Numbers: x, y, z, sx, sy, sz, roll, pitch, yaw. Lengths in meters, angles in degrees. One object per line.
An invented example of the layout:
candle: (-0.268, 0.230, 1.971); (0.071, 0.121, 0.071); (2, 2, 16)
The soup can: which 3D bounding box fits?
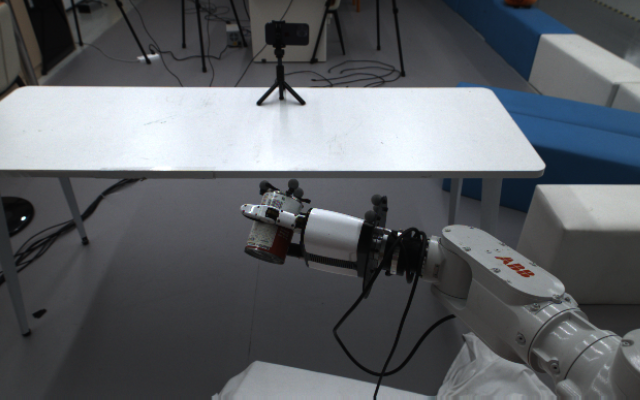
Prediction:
soup can: (-0.074, 0.043, 0.770); (0.067, 0.067, 0.101); (12, 71, 14)
